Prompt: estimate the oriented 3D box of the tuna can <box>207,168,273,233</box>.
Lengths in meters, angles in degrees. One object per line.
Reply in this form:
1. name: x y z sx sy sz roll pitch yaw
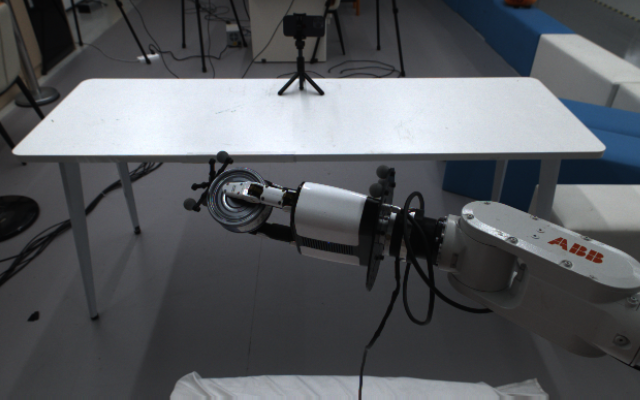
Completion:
1. tuna can: -0.105 0.003 0.652 0.085 0.034 0.085 -2 72 6
